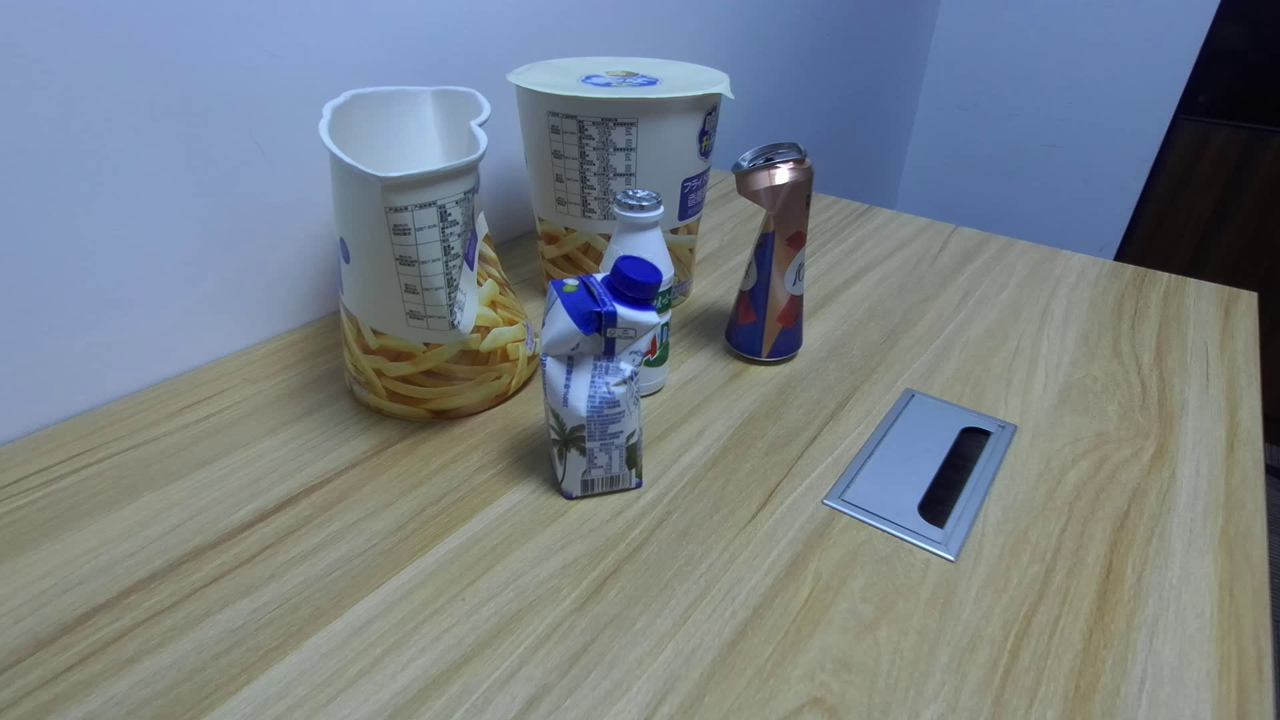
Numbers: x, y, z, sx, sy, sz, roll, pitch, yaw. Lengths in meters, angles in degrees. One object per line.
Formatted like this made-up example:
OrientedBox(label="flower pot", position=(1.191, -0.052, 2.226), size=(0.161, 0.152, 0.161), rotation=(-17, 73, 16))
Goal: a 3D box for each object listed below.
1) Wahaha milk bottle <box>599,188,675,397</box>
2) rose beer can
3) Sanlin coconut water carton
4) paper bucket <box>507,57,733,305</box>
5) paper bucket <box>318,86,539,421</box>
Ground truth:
OrientedBox(label="Wahaha milk bottle", position=(-0.002, -0.045, 0.509), size=(0.053, 0.147, 0.053), rotation=(1, 33, 0))
OrientedBox(label="rose beer can", position=(0.103, -0.081, 0.554), size=(0.070, 0.168, 0.069), rotation=(-23, 36, -30))
OrientedBox(label="Sanlin coconut water carton", position=(-0.024, 0.010, 0.417), size=(0.070, 0.144, 0.060), rotation=(-6, 33, -15))
OrientedBox(label="paper bucket", position=(-0.019, -0.158, 0.643), size=(0.198, 0.195, 0.198), rotation=(1, 32, 0))
OrientedBox(label="paper bucket", position=(-0.147, -0.077, 0.503), size=(0.148, 0.199, 0.217), rotation=(-21, 38, -33))
